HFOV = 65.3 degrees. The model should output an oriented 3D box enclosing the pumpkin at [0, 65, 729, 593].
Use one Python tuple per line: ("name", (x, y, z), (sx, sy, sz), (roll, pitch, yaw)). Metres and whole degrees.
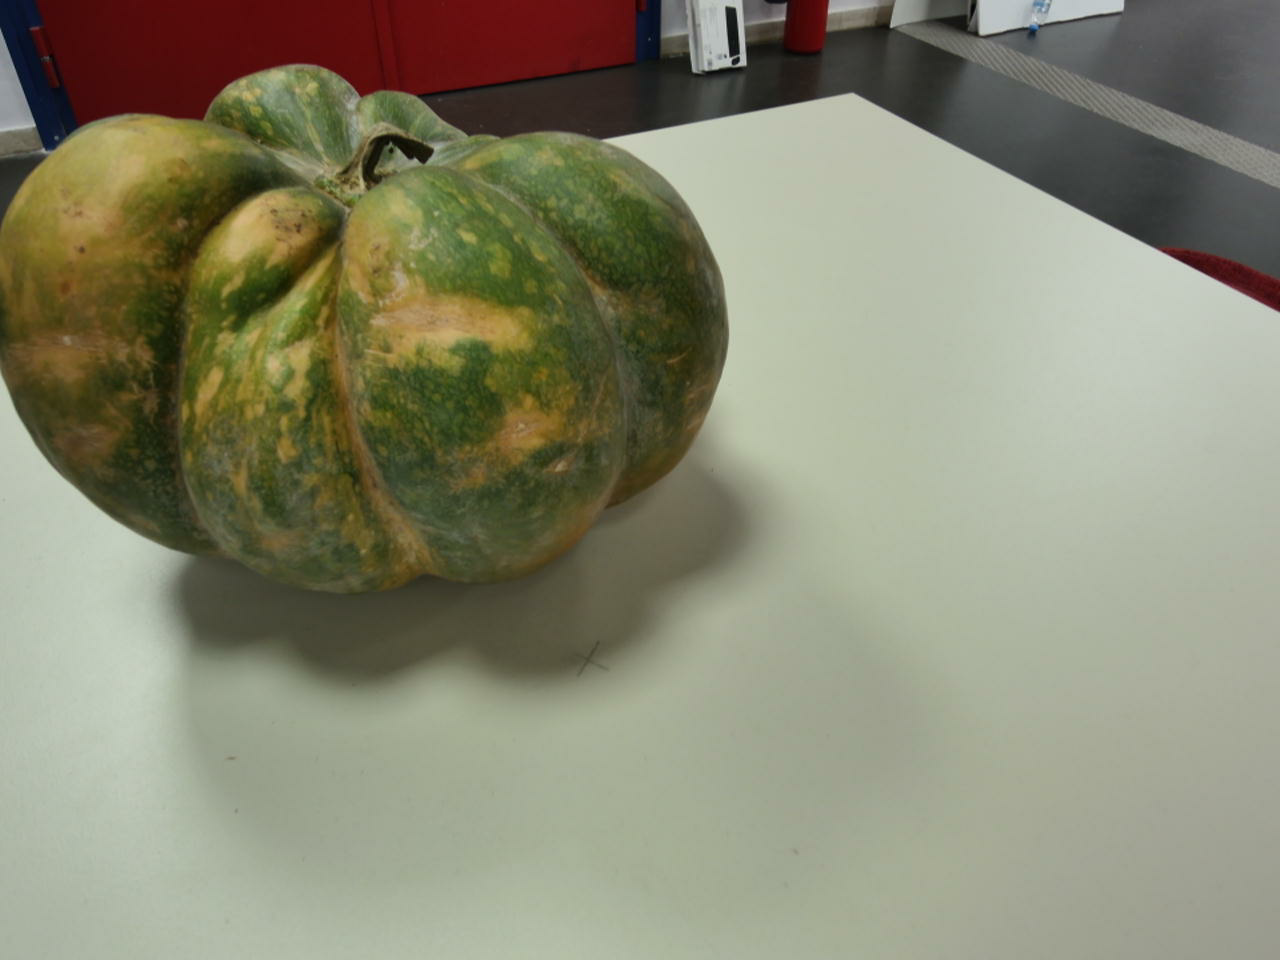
("pumpkin", (-0.100, -0.066, 0.388), (0.270, 0.173, 0.237), (6, 38, 8))
